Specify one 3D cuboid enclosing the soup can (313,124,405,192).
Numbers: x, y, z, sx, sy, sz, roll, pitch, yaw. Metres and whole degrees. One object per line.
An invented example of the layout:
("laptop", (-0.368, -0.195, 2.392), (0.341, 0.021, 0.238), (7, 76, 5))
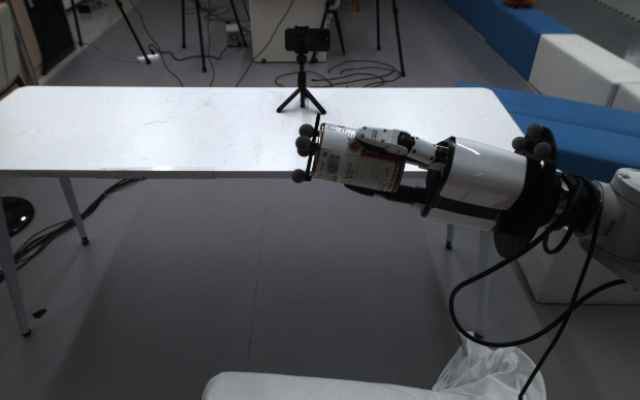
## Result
("soup can", (0.048, -0.050, 0.577), (0.101, 0.067, 0.067), (11, 35, -2))
